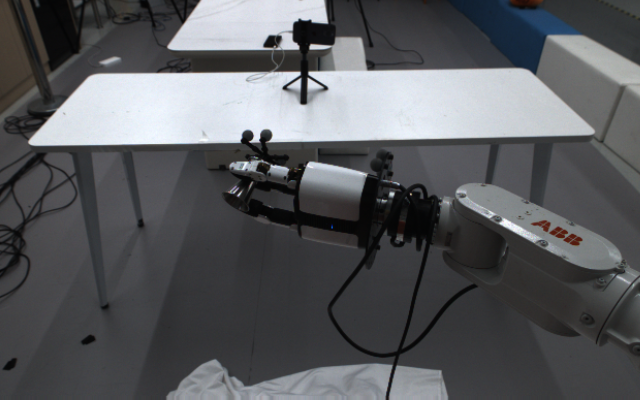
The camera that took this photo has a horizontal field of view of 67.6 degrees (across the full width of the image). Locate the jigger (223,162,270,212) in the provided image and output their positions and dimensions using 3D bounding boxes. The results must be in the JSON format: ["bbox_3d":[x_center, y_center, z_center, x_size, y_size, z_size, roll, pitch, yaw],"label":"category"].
[{"bbox_3d":[-0.103,-0.026,0.680,0.043,0.043,0.071,19,61,23],"label":"jigger"}]
